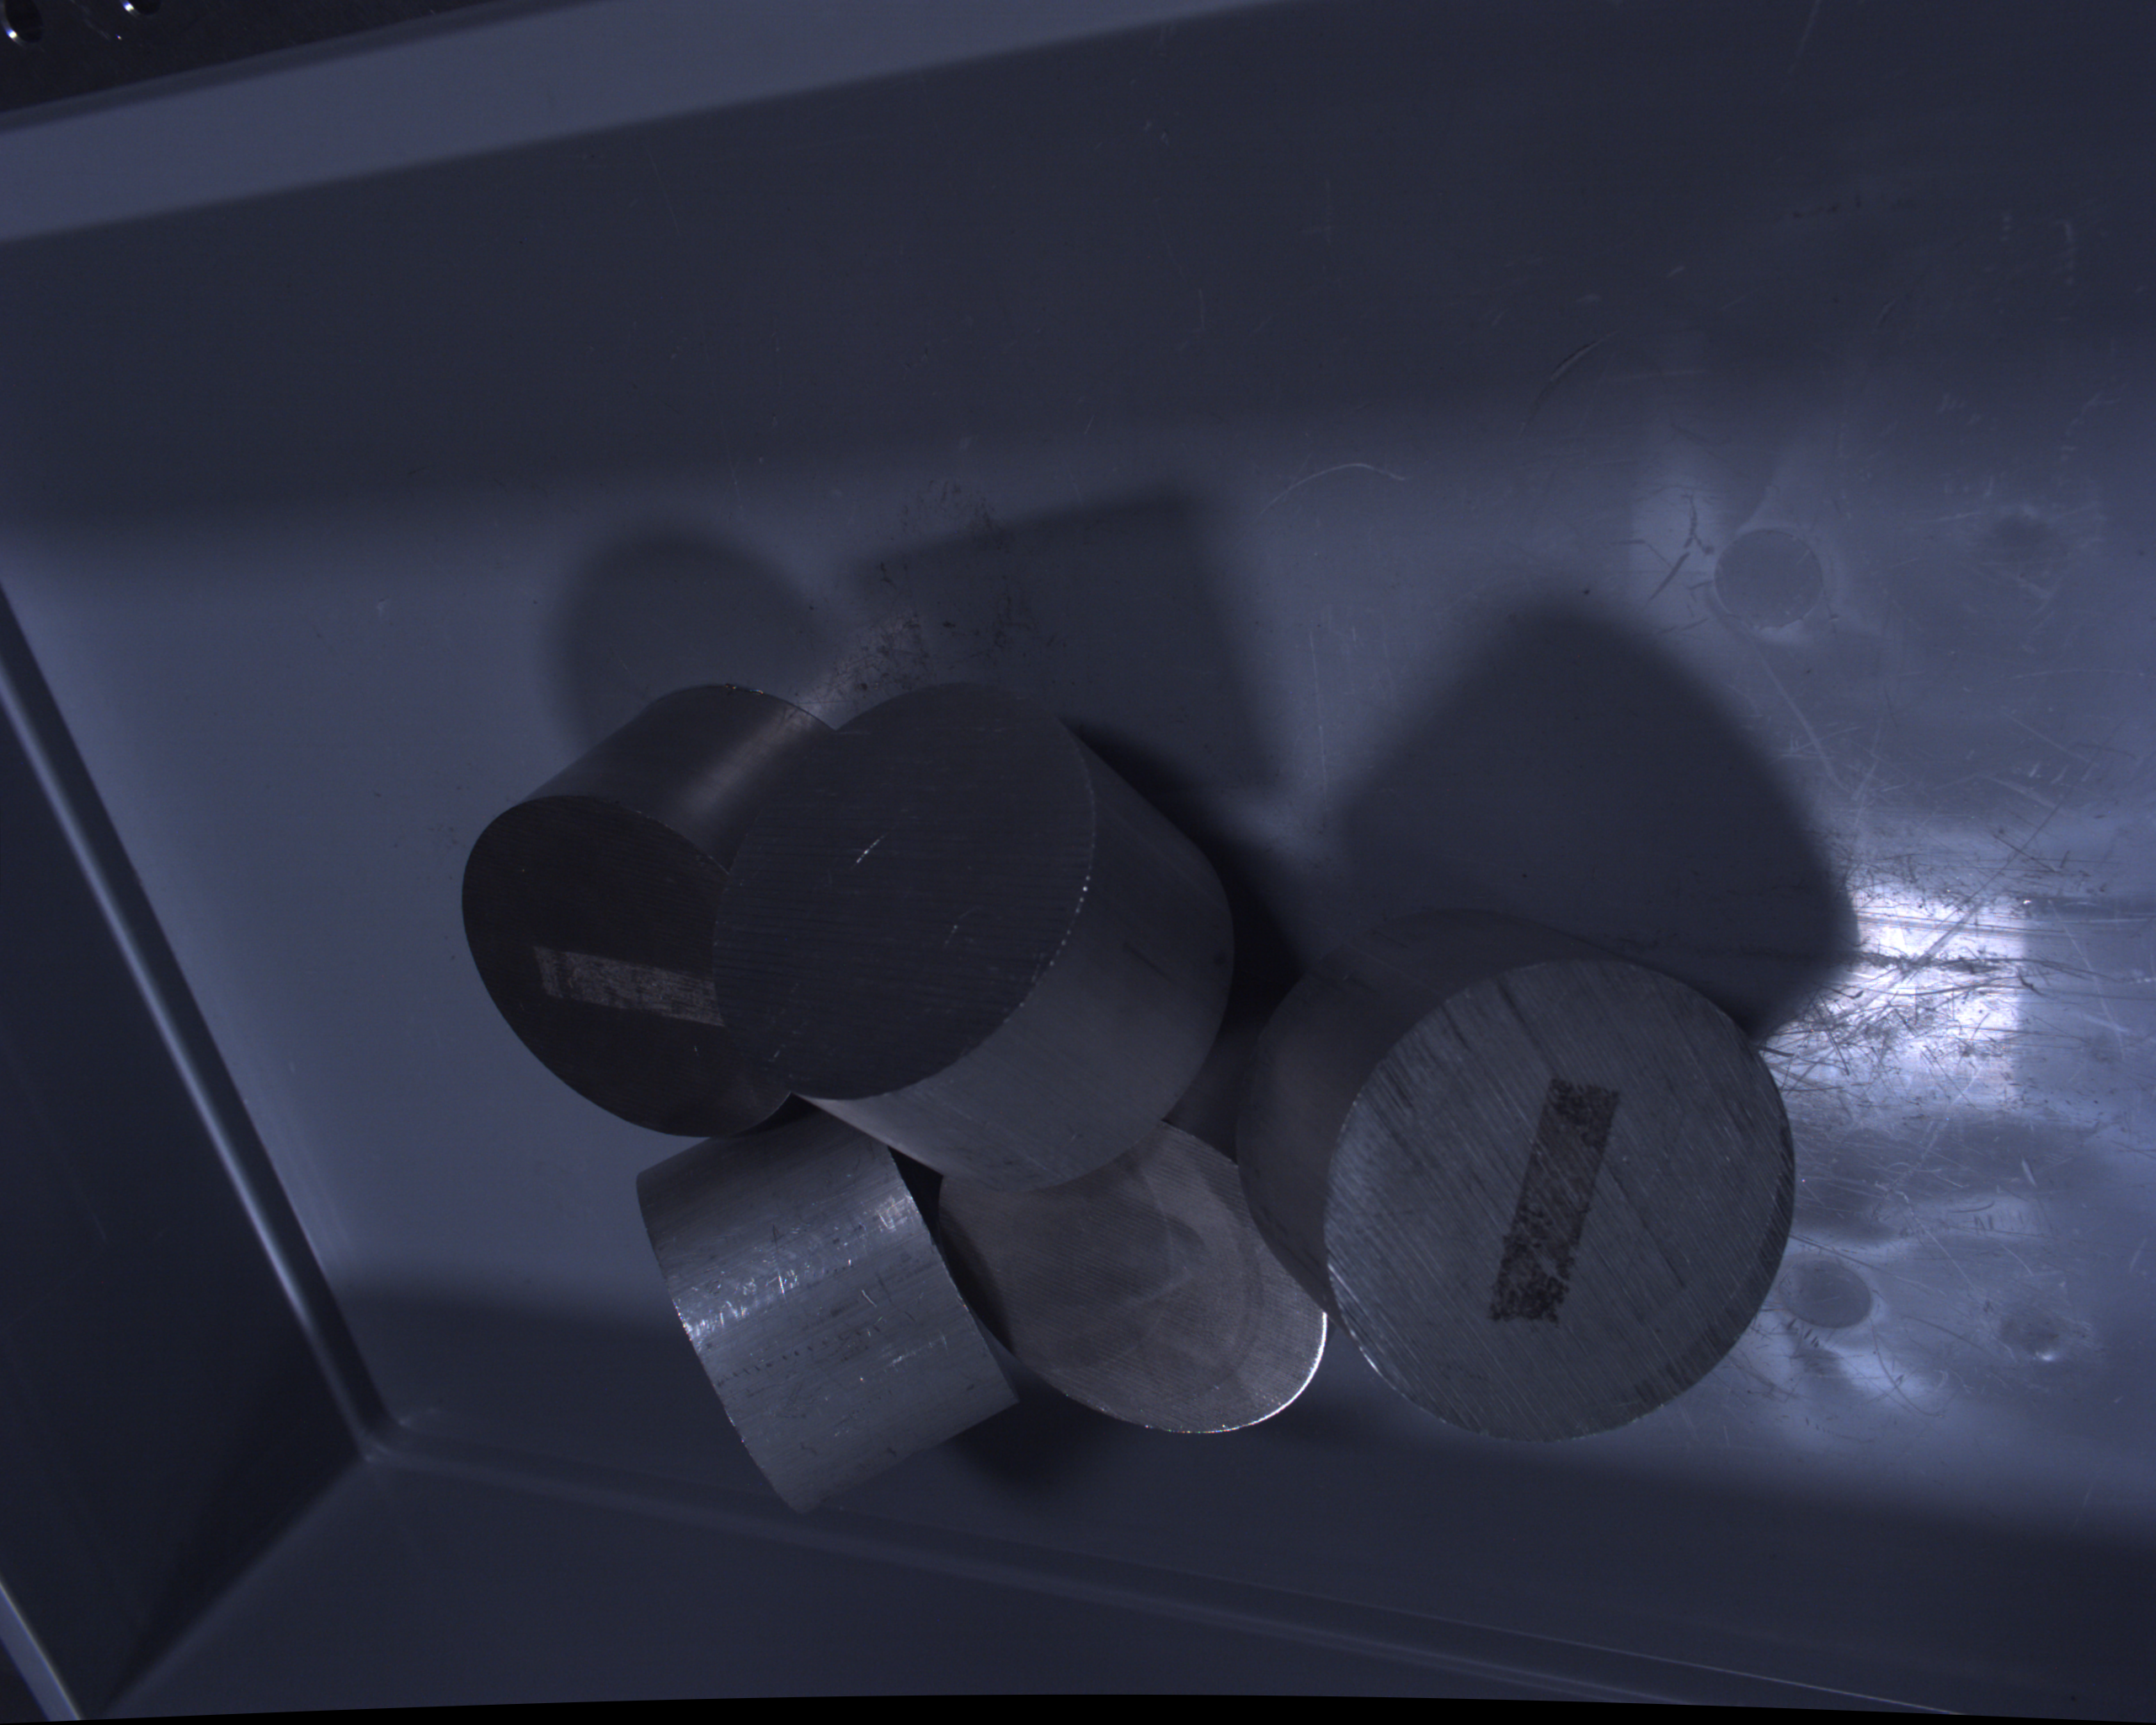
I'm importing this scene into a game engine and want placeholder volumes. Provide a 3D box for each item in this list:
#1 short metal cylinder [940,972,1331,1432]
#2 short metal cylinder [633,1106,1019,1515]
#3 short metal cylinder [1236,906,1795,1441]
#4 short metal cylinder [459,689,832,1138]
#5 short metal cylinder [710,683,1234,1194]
[{"bbox_3d":[0.020,0.067,0.420,0.080,0.050,0.079,13,124,20],"label":"short metal cylinder"},{"bbox_3d":[-0.053,0.090,0.445,0.050,0.080,0.080,-27,109,-7],"label":"short metal cylinder"},{"bbox_3d":[0.073,0.051,0.356,0.081,0.050,0.079,-2,98,-11],"label":"short metal cylinder"},{"bbox_3d":[-0.080,0.010,0.436,0.080,0.050,0.079,13,124,20],"label":"short metal cylinder"},{"bbox_3d":[-0.019,0.014,0.379,0.080,0.080,0.050,-8,150,31],"label":"short metal cylinder"}]
